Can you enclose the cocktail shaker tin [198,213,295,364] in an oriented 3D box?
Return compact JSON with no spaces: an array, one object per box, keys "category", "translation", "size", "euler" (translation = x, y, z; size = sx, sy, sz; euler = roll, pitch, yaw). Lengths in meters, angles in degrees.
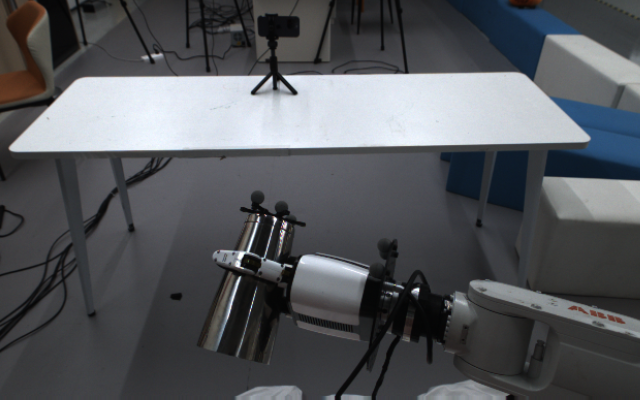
[{"category":"cocktail shaker tin","translation":[-0.082,0.109,0.605],"size":[0.093,0.093,0.170],"euler":[10,71,12]}]
